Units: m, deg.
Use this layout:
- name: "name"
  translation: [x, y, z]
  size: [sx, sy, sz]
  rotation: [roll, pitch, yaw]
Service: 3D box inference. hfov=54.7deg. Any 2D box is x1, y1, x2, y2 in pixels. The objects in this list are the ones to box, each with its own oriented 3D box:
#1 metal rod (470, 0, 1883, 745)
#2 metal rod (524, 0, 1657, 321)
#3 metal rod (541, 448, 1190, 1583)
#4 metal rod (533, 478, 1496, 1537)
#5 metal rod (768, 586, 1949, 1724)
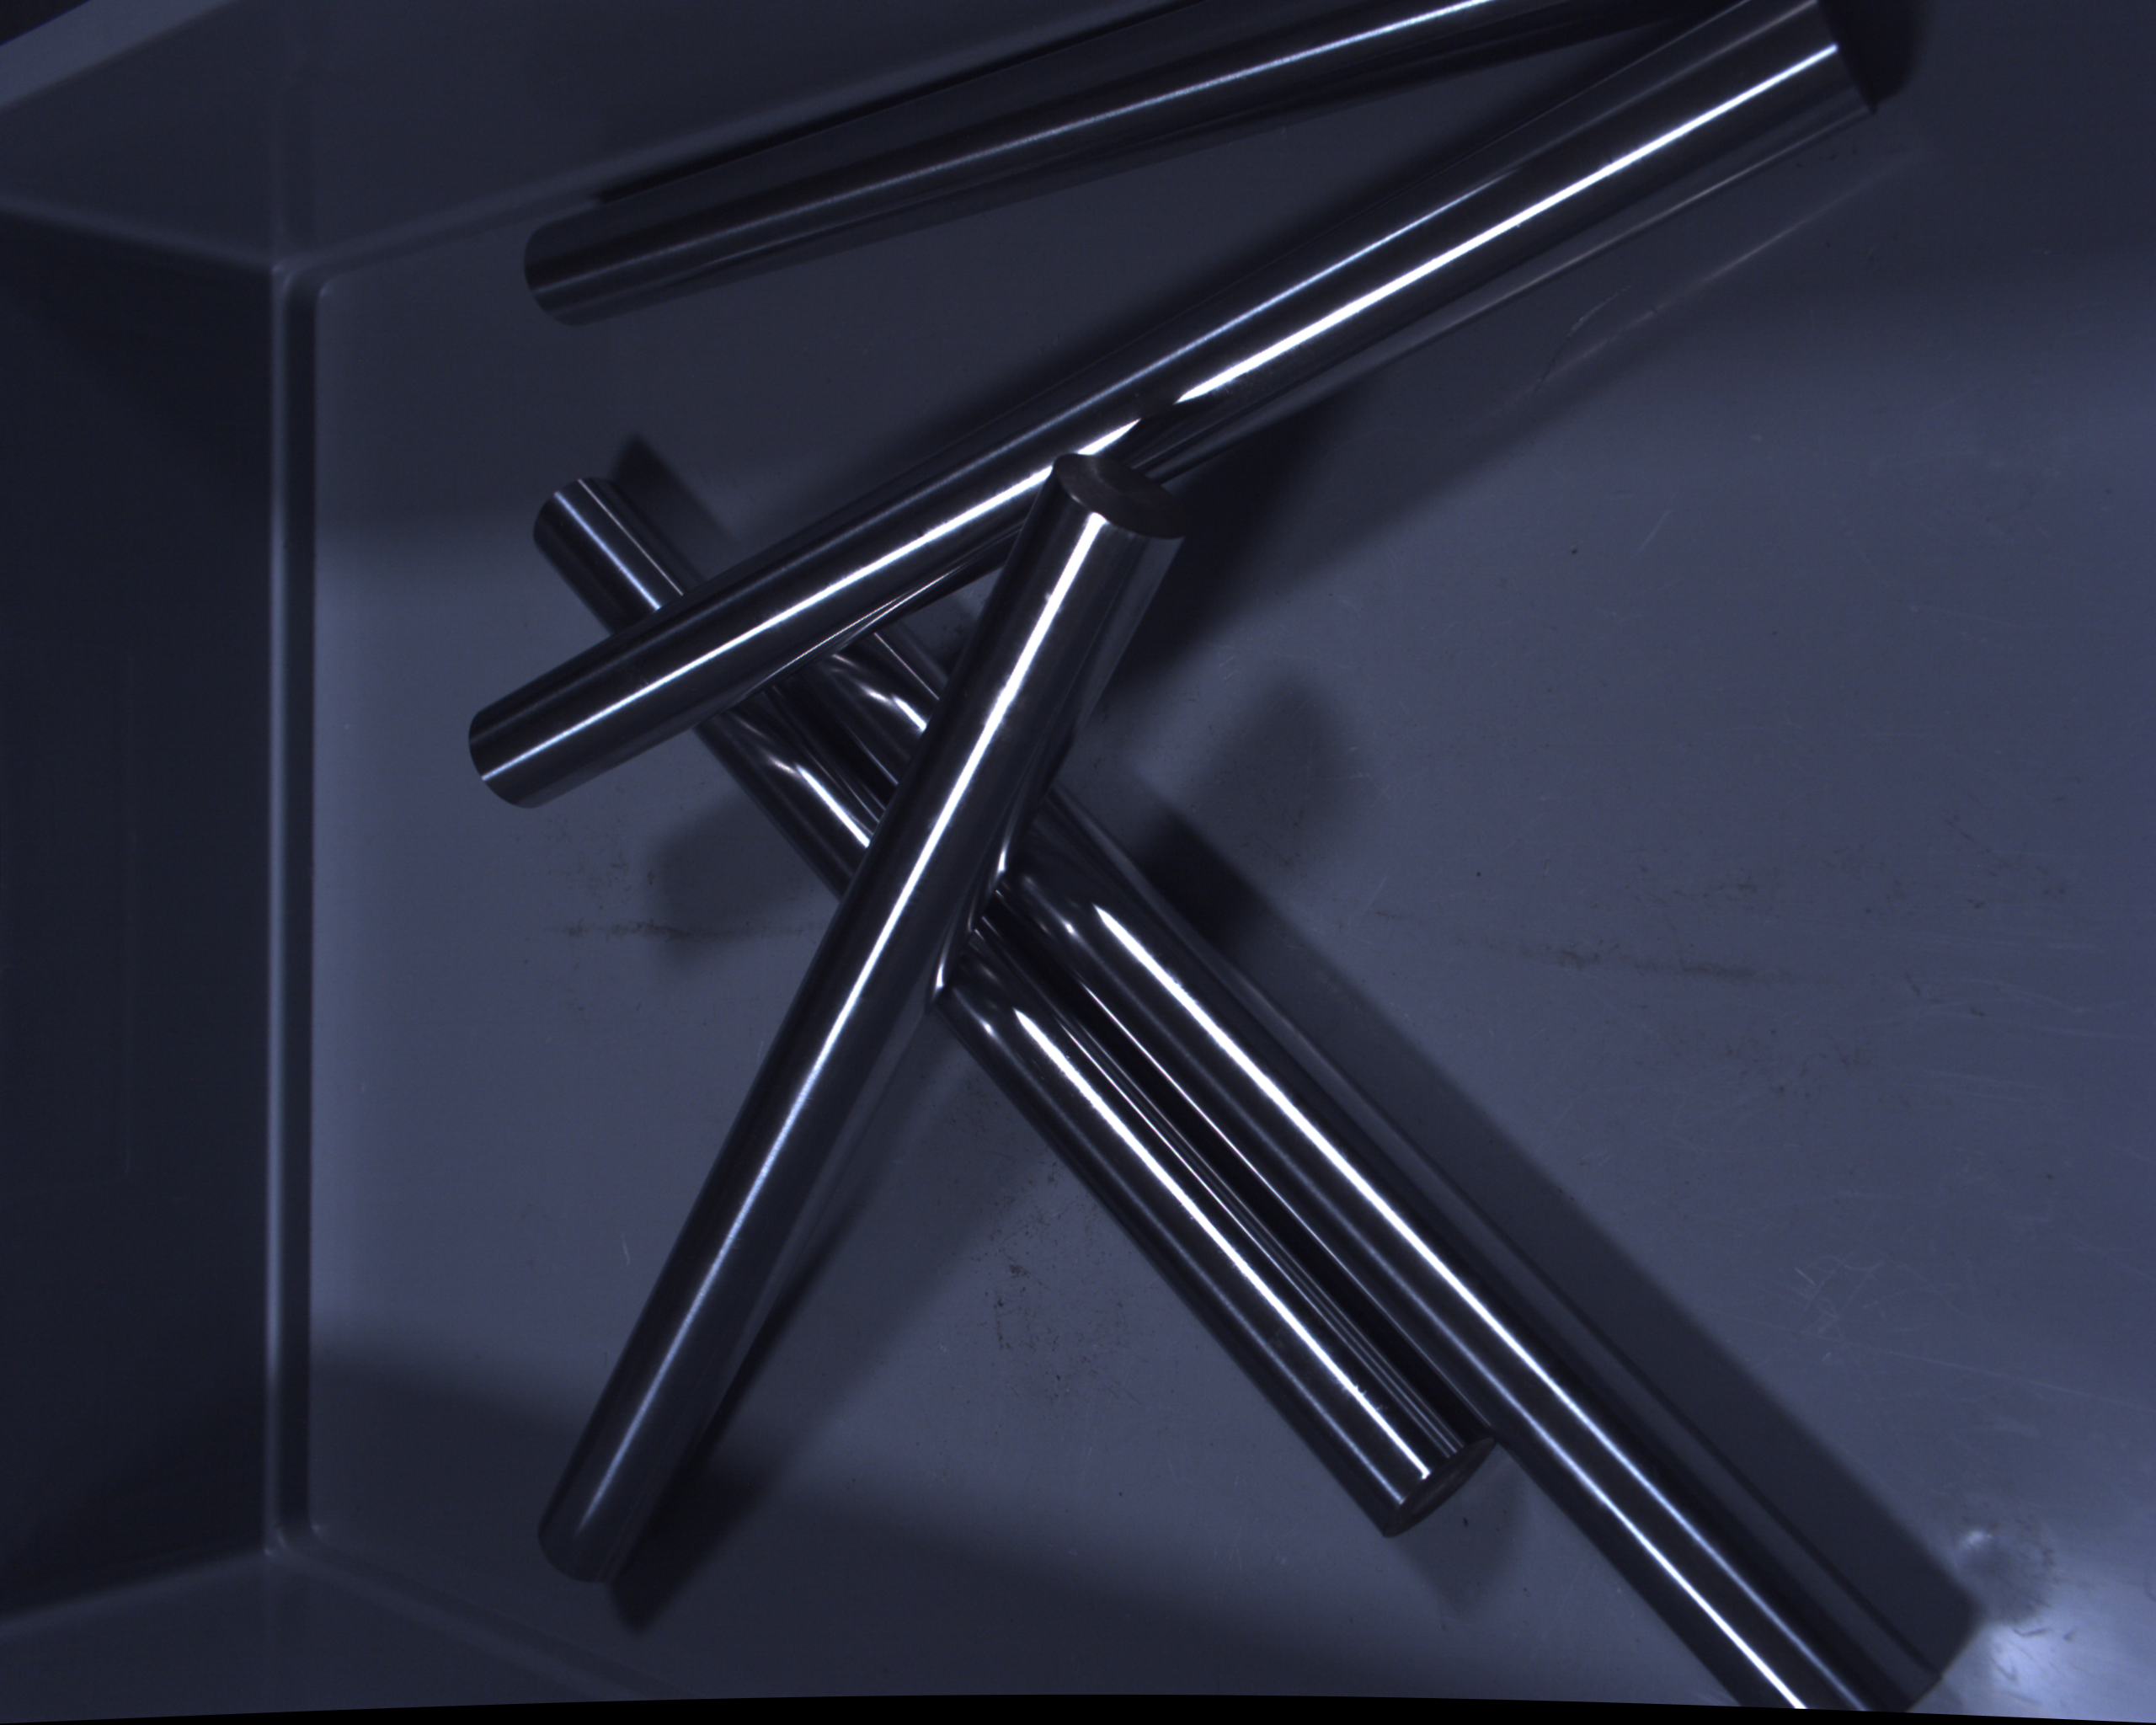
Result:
- name: "metal rod"
  translation: [-0.005, -0.083, 0.388]
  size: [0.300, 0.025, 0.025]
  rotation: [-20, 77, 31]
- name: "metal rod"
  translation: [-0.007, -0.145, 0.410]
  size: [0.300, 0.025, 0.025]
  rotation: [-1, 90, 39]
- name: "metal rod"
  translation: [-0.055, 0.050, 0.422]
  size: [0.025, 0.025, 0.298]
  rotation: [48, 126, 29]
- name: "metal rod"
  translation: [-0.029, 0.012, 0.428]
  size: [0.300, 0.025, 0.025]
  rotation: [46, 117, 30]
- name: "metal rod"
  translation: [0.029, 0.034, 0.381]
  size: [0.300, 0.025, 0.025]
  rotation: [46, 117, 30]
